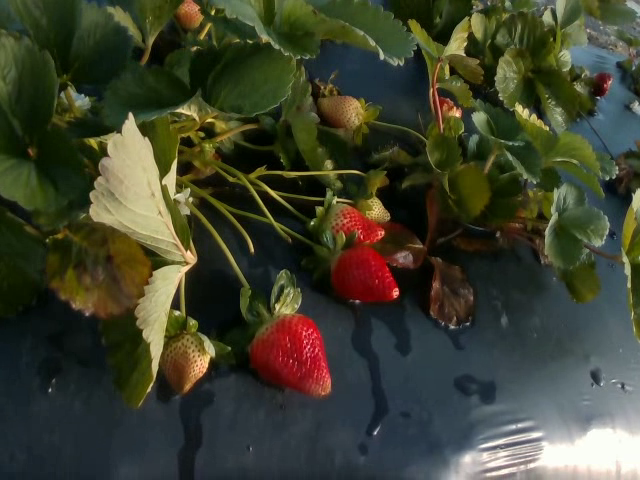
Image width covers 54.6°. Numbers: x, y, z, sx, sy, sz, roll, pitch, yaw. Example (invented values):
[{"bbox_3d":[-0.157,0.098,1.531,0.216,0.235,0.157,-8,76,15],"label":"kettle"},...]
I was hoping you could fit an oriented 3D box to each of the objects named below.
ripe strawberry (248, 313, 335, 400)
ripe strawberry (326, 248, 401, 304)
[{"bbox_3d":[-0.014,0.072,0.364,0.050,0.050,0.065,-33,48,-14],"label":"ripe strawberry"},{"bbox_3d":[0.032,0.029,0.422,0.055,0.045,0.042,28,-10,32],"label":"ripe strawberry"}]
